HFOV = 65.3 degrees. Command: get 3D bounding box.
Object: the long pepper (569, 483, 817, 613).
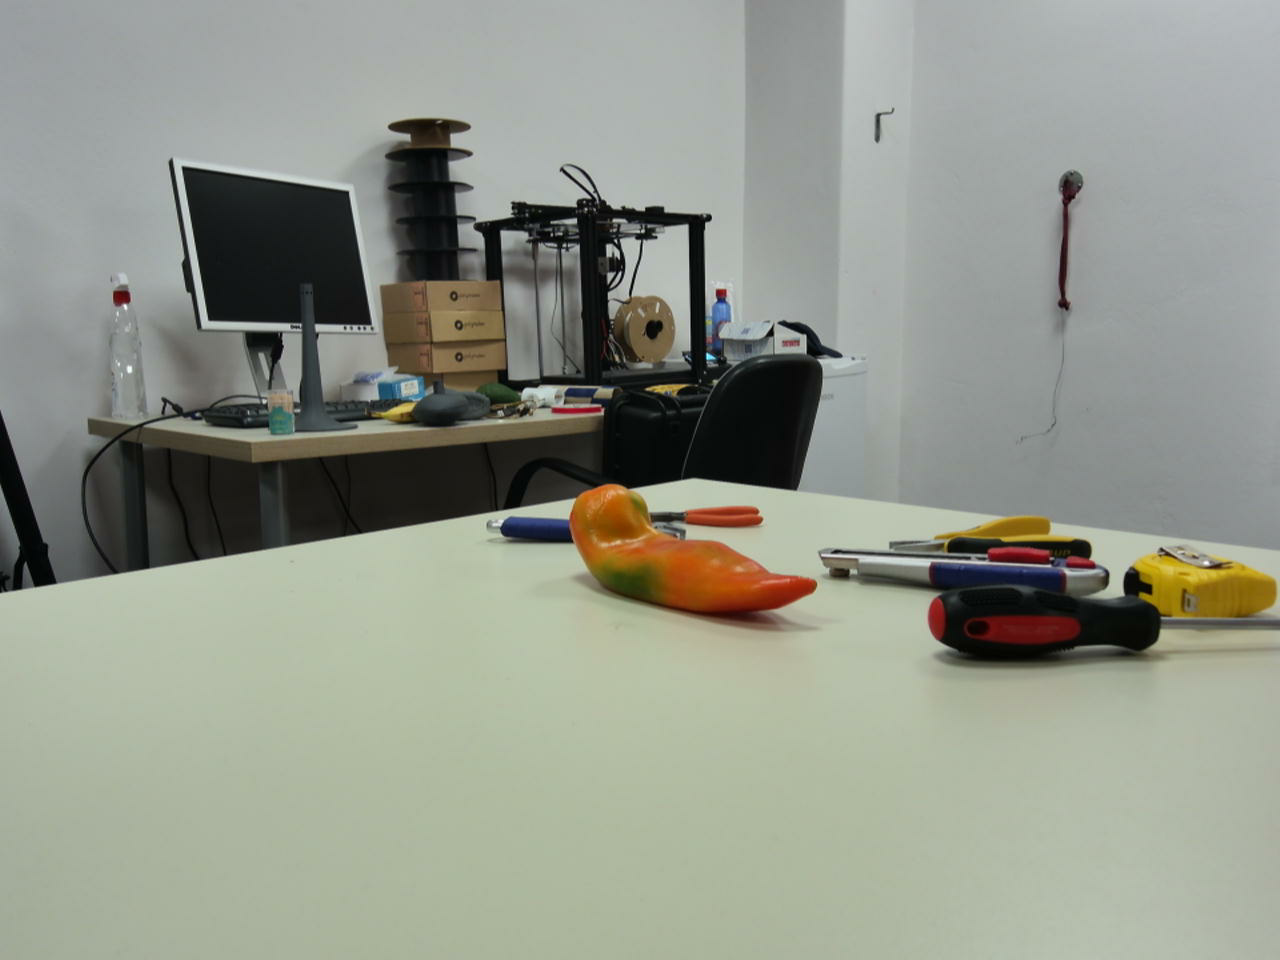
[{"bbox_3d":[0.025,0.043,0.622,0.066,0.065,0.199,-4,8,-38],"label":"long pepper"}]
